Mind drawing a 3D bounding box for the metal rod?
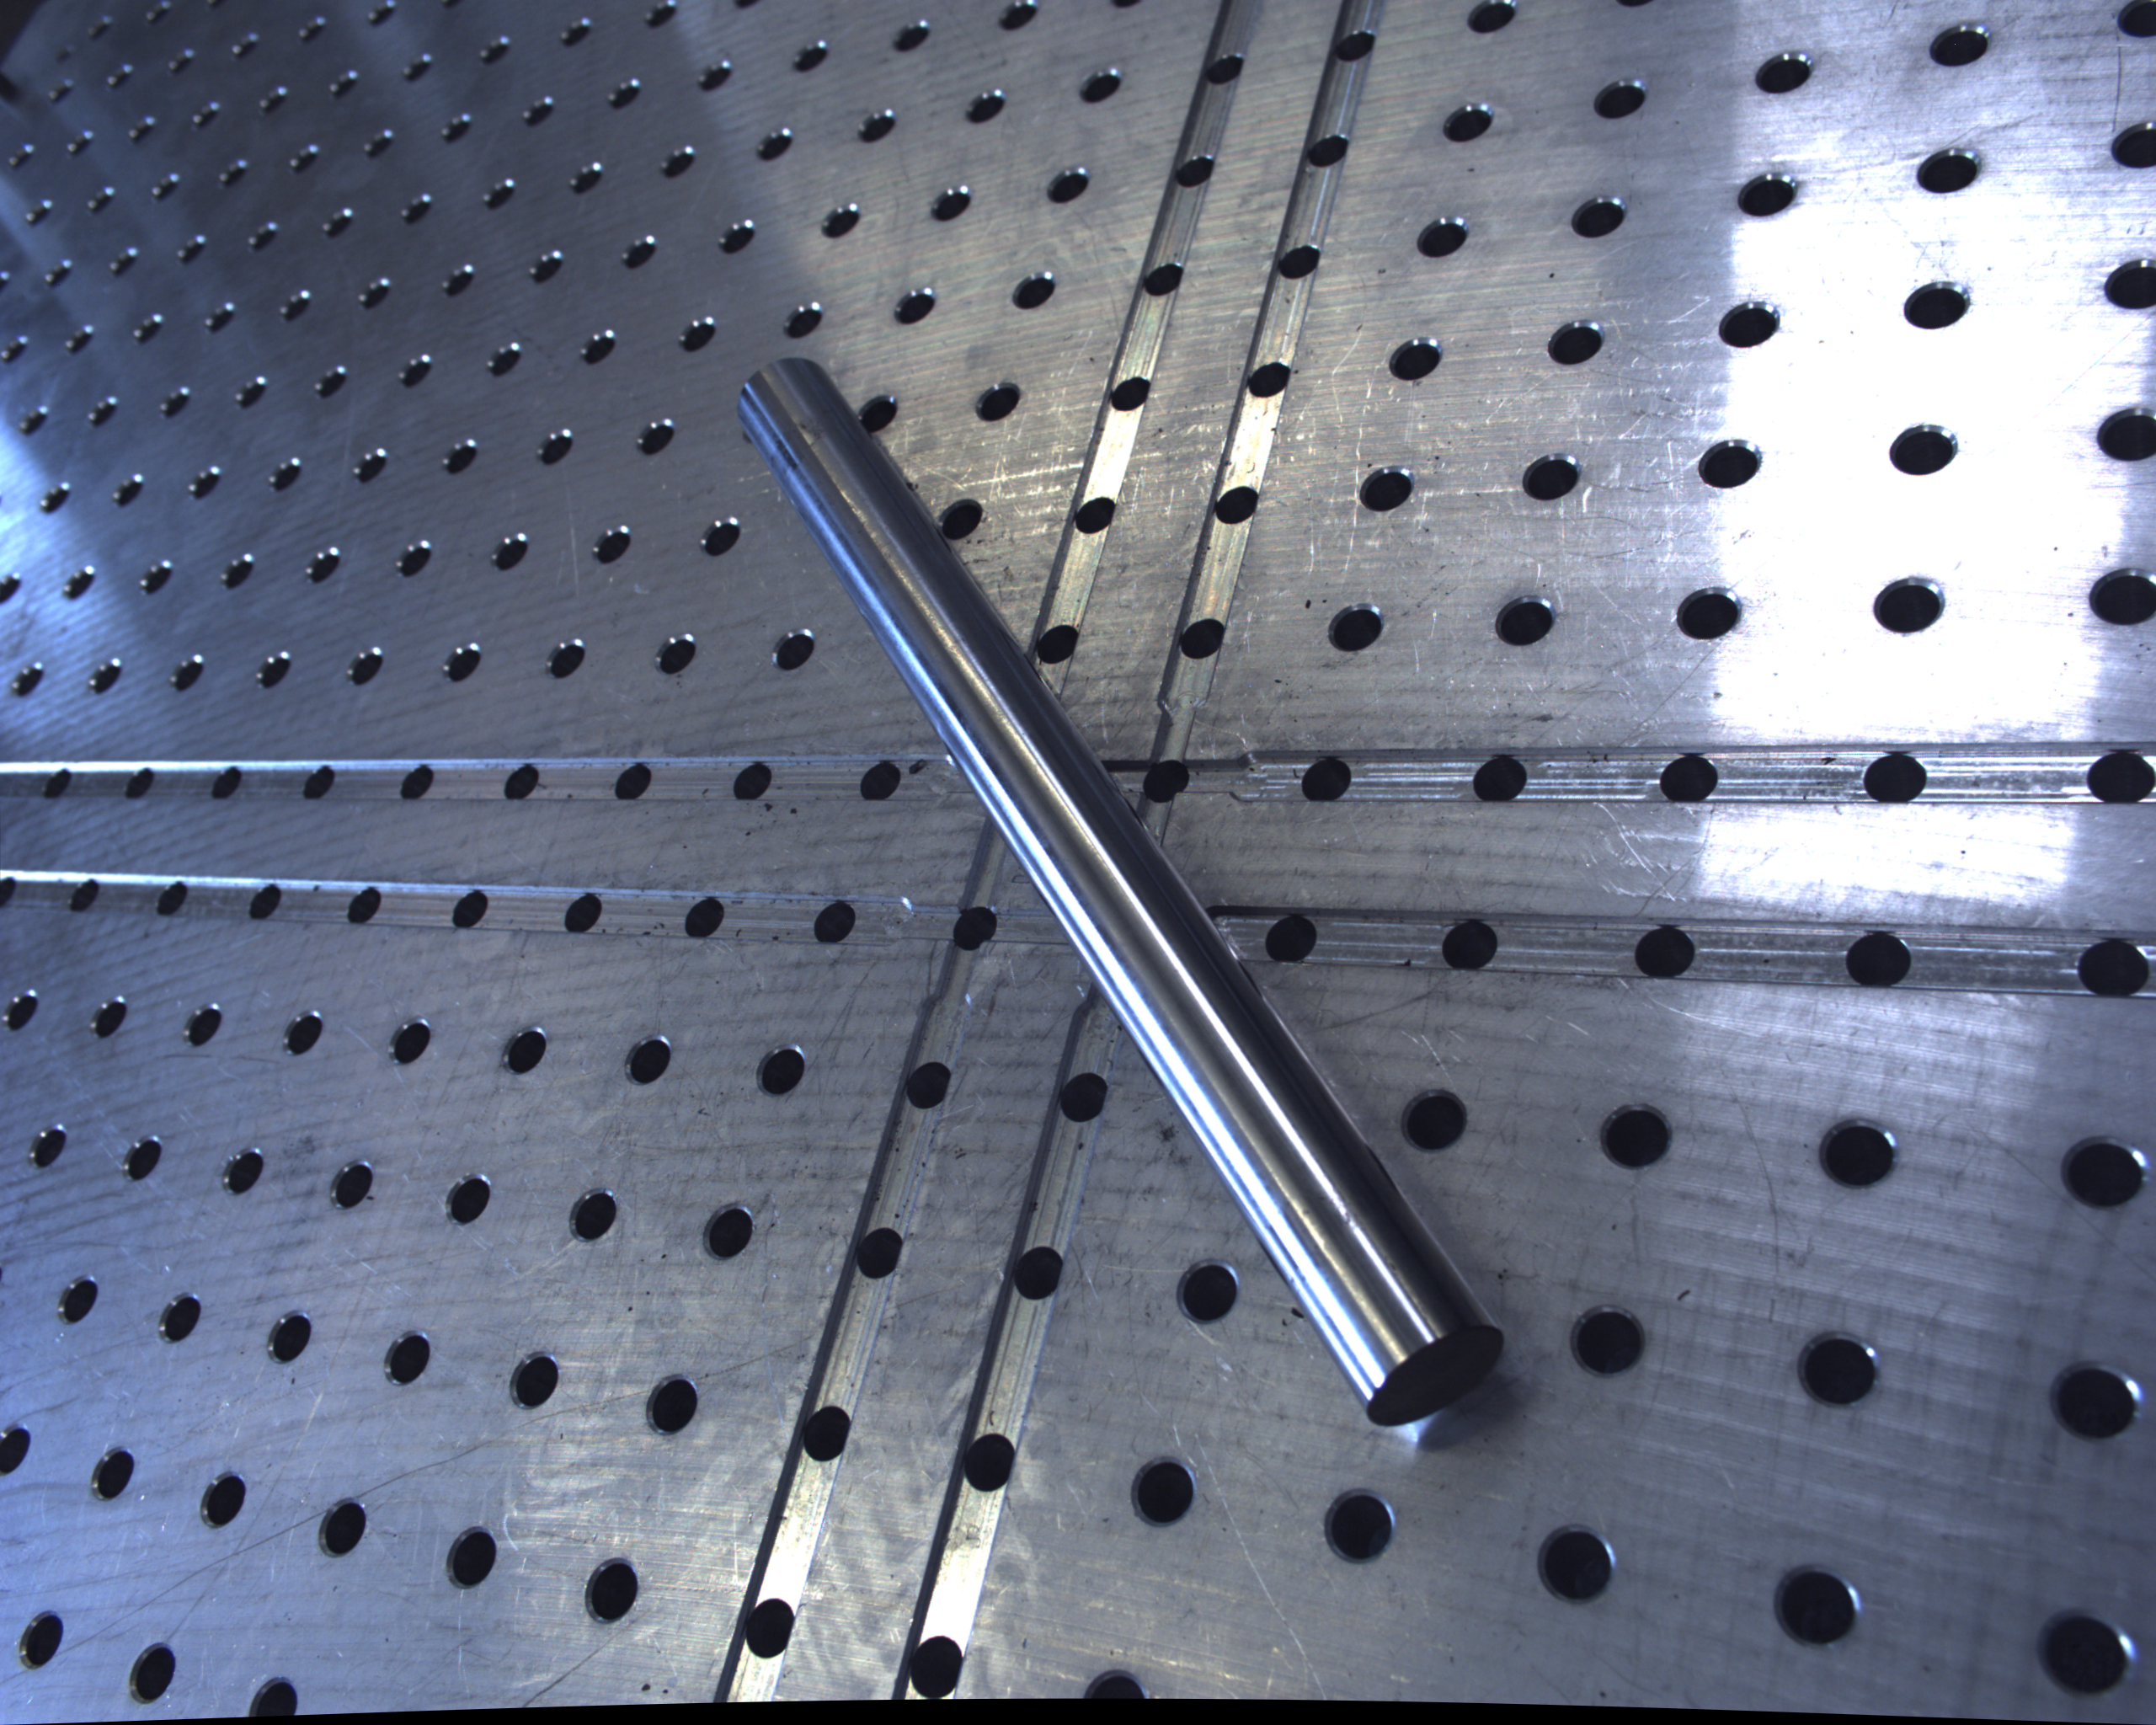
[{"bbox_3d":[-0.008,-0.016,0.424,0.025,0.025,0.300,-37,51,4],"label":"metal rod"}]
